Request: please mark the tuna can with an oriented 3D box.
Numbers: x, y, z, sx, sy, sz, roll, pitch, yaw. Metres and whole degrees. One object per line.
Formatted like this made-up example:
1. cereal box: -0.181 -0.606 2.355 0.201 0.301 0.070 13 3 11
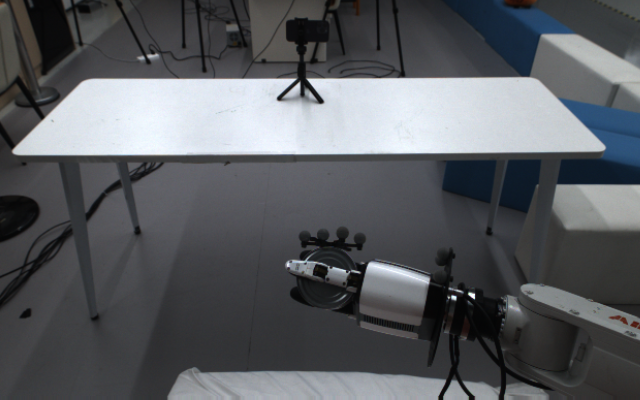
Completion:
1. tuna can: 0.014 0.114 0.670 0.085 0.034 0.085 -3 73 10
